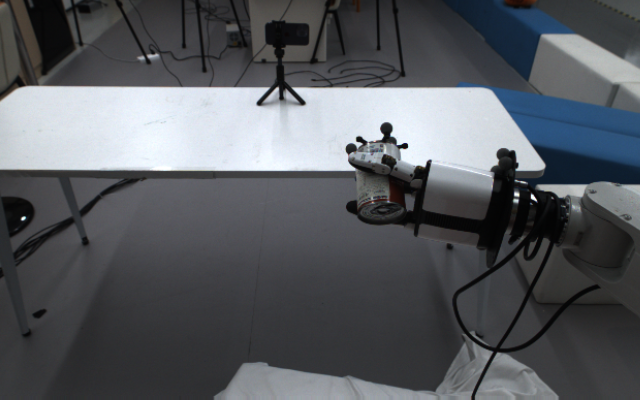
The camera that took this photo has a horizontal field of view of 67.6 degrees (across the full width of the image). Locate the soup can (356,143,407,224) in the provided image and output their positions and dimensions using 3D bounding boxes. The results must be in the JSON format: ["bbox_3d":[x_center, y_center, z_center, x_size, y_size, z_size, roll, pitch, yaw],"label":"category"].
[{"bbox_3d":[0.085,-0.024,0.684,0.067,0.067,0.101,1,62,-2],"label":"soup can"}]
